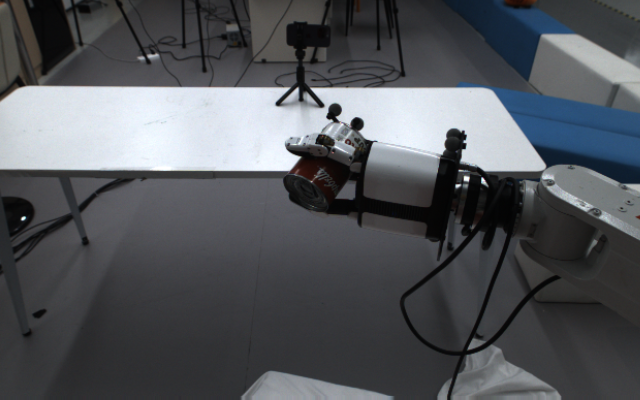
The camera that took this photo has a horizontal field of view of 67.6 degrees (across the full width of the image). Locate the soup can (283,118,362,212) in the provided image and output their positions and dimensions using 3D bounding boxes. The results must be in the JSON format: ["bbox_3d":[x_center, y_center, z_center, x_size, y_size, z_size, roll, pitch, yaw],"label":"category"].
[{"bbox_3d":[0.010,-0.044,0.619,0.067,0.067,0.101,22,60,26],"label":"soup can"}]
